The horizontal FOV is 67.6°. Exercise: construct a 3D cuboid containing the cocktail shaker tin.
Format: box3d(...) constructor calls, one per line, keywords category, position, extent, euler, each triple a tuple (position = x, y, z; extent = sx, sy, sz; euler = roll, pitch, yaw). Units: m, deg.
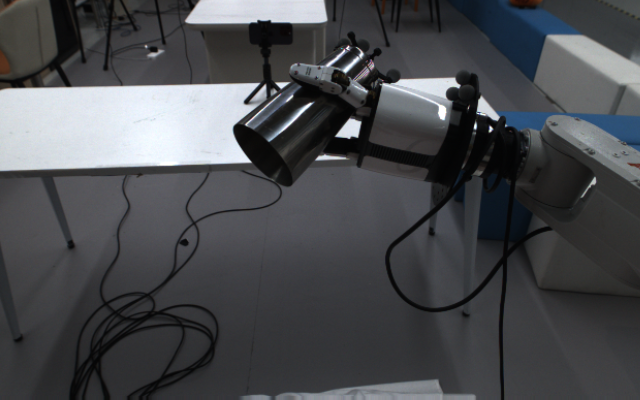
box3d(category="cocktail shaker tin", position=(-0.008, -0.110, 0.569), extent=(0.093, 0.093, 0.170), euler=(32, 66, 35))
